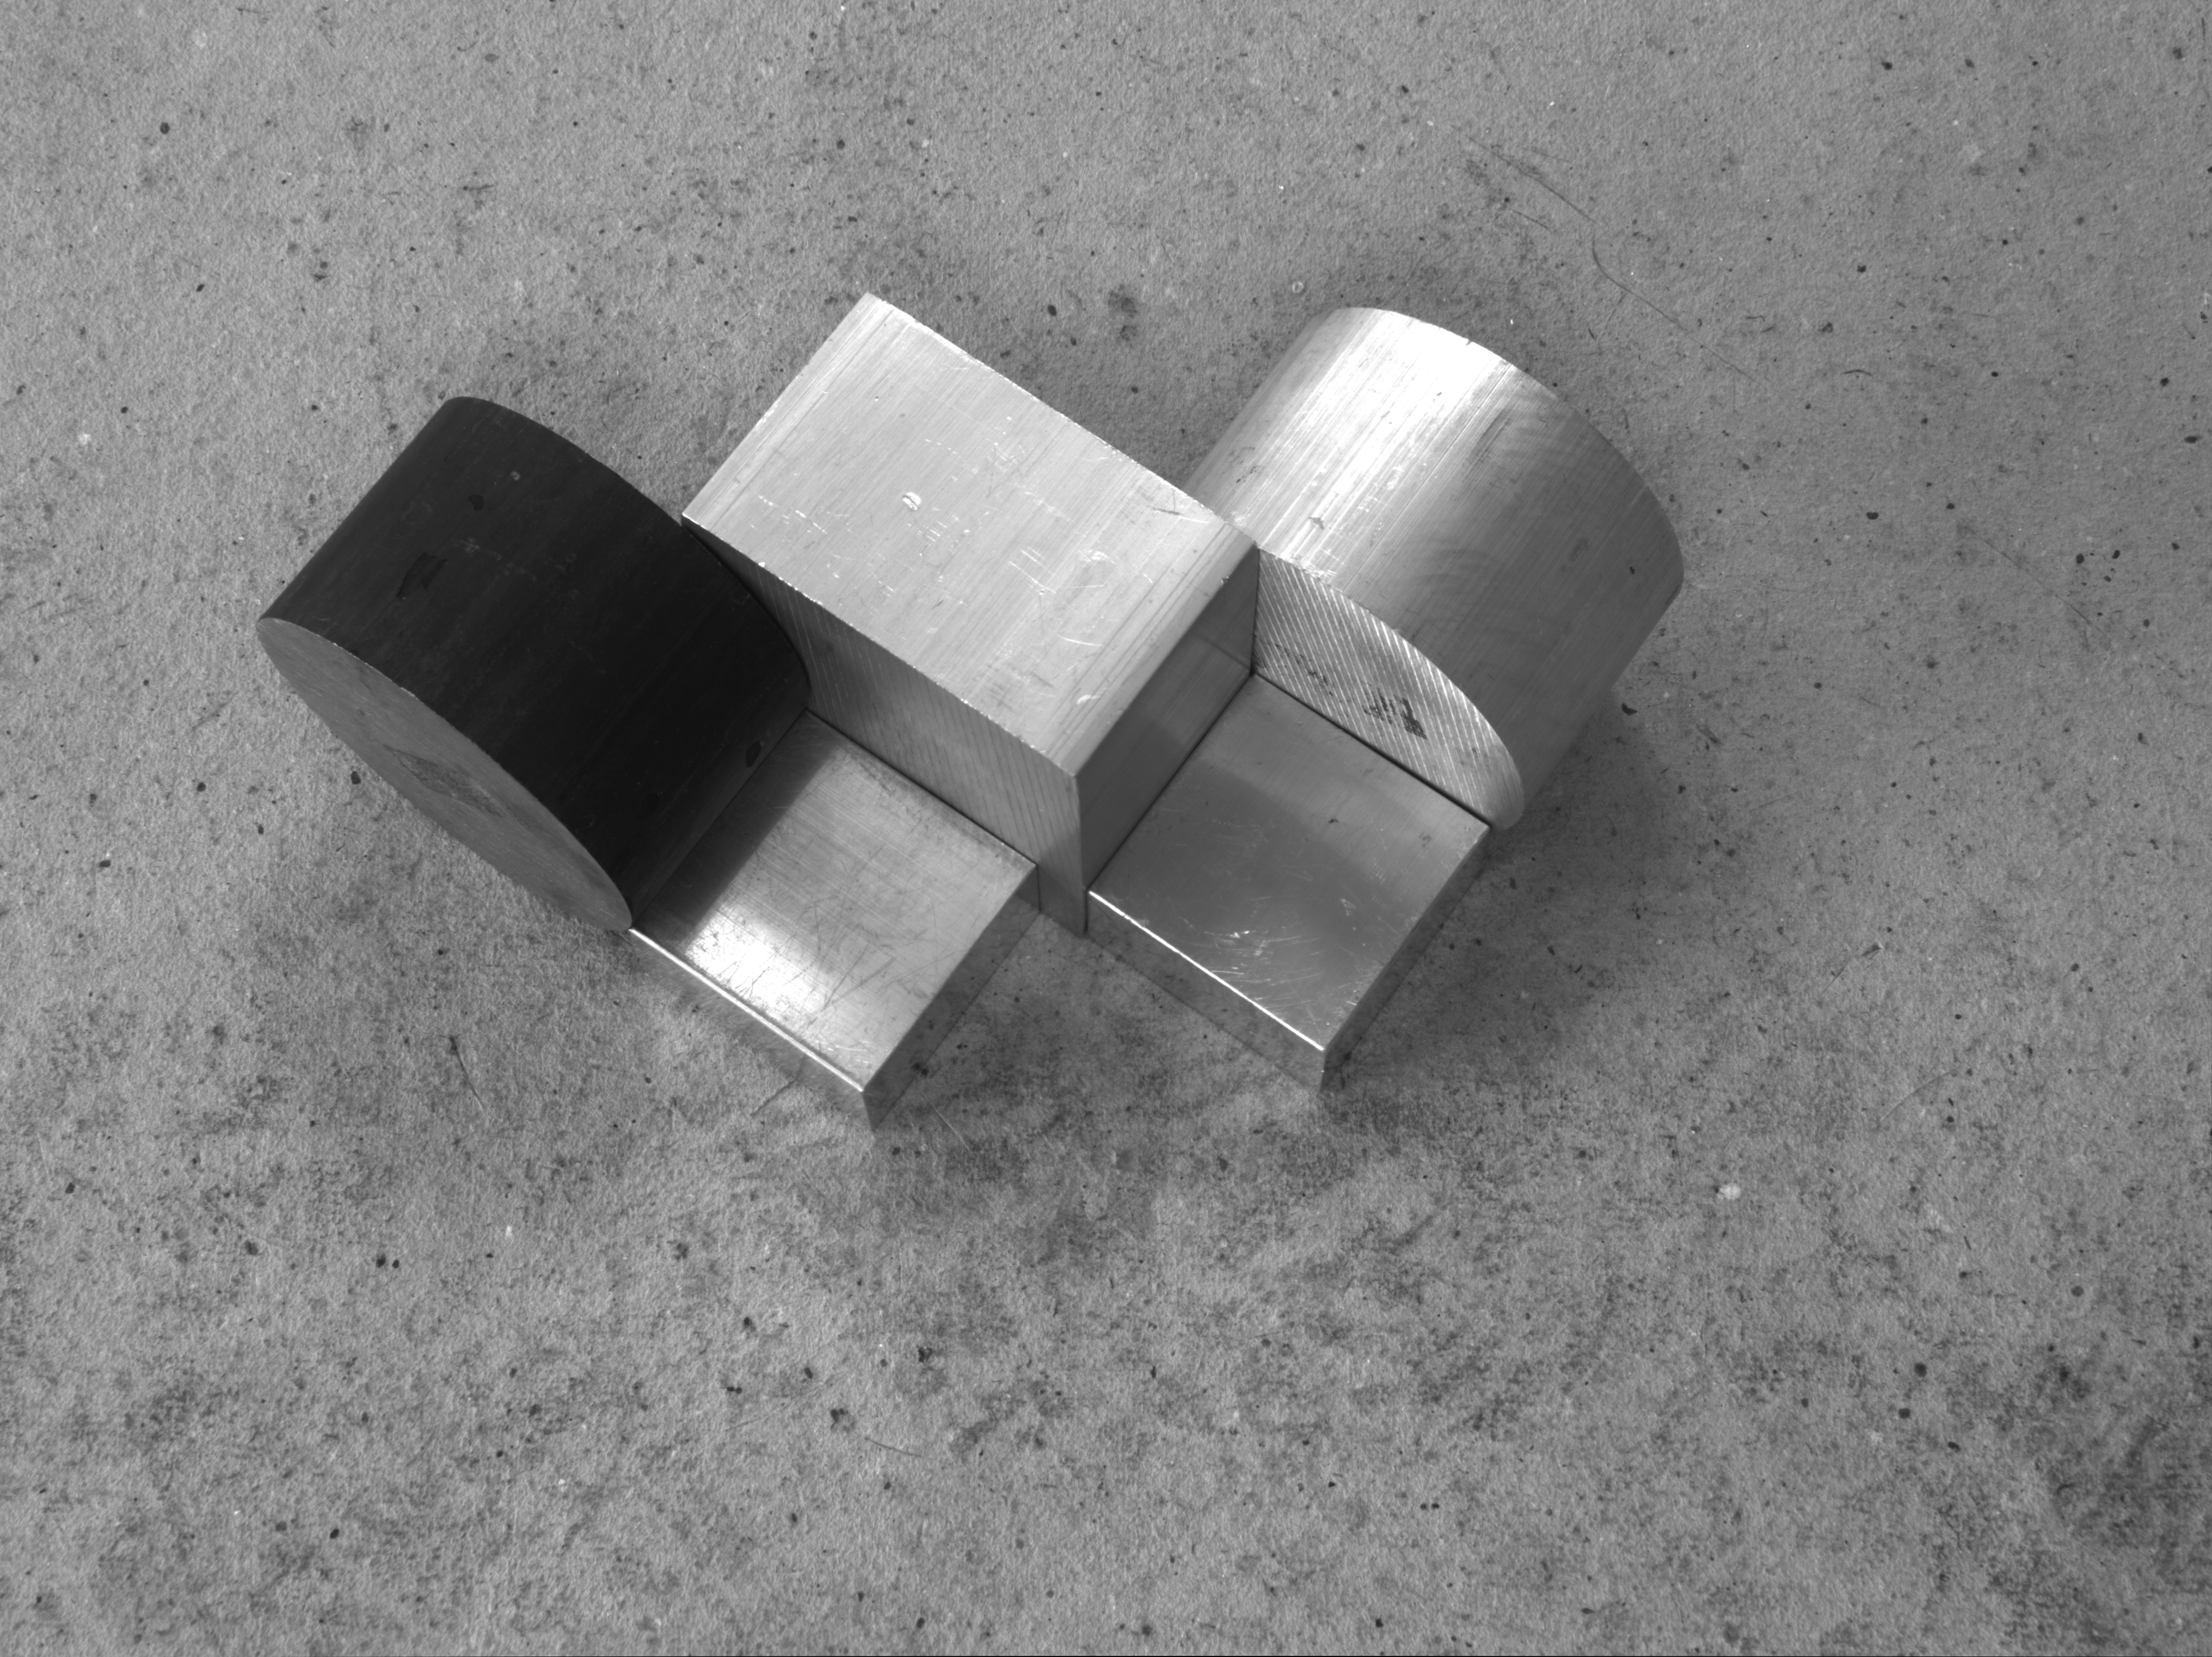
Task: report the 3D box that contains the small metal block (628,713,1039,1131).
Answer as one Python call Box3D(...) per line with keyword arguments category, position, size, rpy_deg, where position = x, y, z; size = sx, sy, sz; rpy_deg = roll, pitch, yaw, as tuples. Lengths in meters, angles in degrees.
Box3D(category="small metal block", position=(-0.047, 0.016, 0.641), size=(0.050, 0.025, 0.050), rpy_deg=(34, 73, 12))

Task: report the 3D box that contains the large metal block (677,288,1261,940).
Box3D(category="large metal block", position=(-0.022, -0.035, 0.630), size=(0.080, 0.080, 0.050), rpy_deg=(33, 73, 11))

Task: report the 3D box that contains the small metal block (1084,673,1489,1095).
Box3D(category="small metal block", position=(0.031, 0.010, 0.643), size=(0.050, 0.025, 0.050), rpy_deg=(34, 73, 12))

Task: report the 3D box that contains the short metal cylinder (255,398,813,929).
Box3D(category="short metal cylinder", position=(-0.097, -0.027, 0.627), size=(0.080, 0.080, 0.050), rpy_deg=(33, 73, 12))

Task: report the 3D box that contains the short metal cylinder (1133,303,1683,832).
Box3D(category="short metal cylinder", position=(0.052, -0.044, 0.633), size=(0.080, 0.080, 0.050), rpy_deg=(34, 73, 12))
